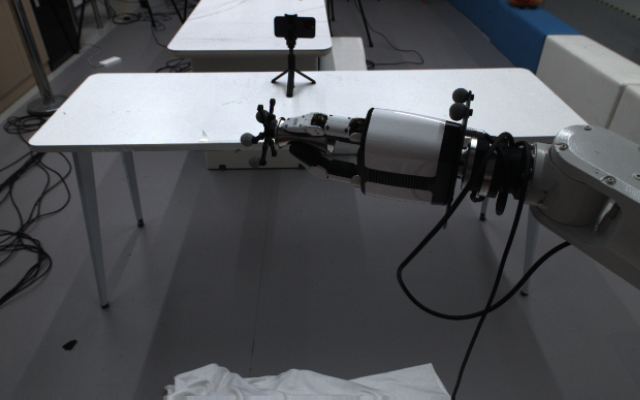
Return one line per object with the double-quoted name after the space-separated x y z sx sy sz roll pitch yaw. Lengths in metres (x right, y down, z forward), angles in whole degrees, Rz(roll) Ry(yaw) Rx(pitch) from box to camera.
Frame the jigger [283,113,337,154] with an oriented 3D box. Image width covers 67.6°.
-0.012 -0.084 0.603 0.071 0.043 0.043 8 35 15 "jigger"
